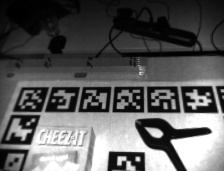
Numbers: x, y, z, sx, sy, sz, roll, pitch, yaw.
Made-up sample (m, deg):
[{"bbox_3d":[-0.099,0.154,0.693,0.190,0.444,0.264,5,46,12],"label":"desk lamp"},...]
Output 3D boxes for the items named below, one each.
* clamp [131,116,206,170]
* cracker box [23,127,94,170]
[{"bbox_3d":[0.144,0.145,0.624,0.200,0.037,0.166,26,60,23],"label":"clamp"},{"bbox_3d":[-0.147,0.219,0.570,0.163,0.072,0.213,1,54,8],"label":"cracker box"}]
